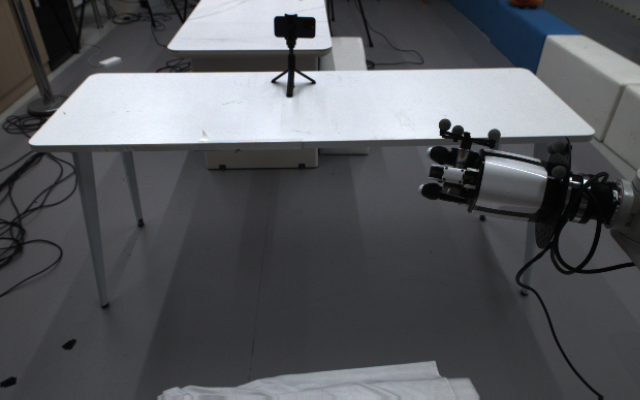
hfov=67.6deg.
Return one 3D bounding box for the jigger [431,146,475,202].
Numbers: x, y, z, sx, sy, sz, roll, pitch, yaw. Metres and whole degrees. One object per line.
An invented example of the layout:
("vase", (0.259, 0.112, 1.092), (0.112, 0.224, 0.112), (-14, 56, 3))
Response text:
("jigger", (0.206, -0.040, 0.712), (0.043, 0.071, 0.043), (14, 1, 0))
